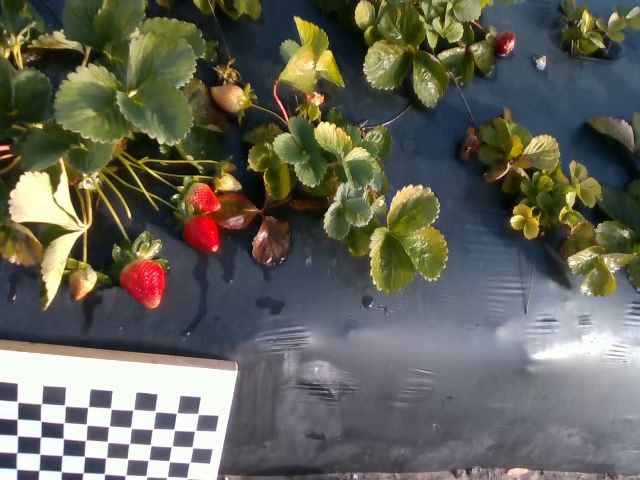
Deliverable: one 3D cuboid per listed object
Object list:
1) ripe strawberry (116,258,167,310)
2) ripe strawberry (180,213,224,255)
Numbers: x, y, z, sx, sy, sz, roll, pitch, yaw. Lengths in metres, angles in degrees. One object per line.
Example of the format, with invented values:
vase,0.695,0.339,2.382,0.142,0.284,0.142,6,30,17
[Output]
ripe strawberry,-0.194,0.050,0.676,0.050,0.065,0.050,-28,-31,4
ripe strawberry,-0.135,-0.003,0.710,0.055,0.045,0.041,46,14,29
